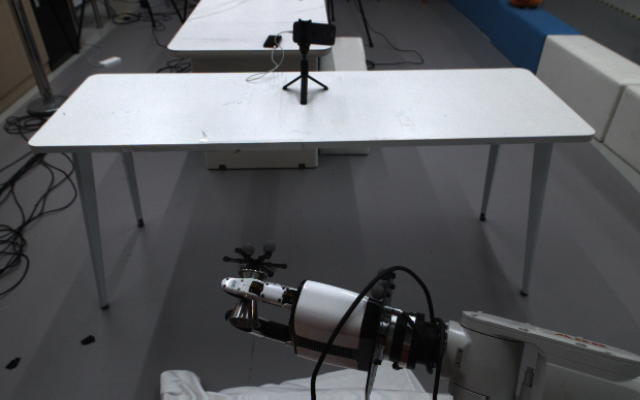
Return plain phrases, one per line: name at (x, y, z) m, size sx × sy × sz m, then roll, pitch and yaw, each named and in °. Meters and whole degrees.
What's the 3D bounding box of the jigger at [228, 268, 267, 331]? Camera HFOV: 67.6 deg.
jigger at (-0.096, 0.130, 0.645) m, size 0.043 × 0.043 × 0.071 m, roll 5°, pitch 61°, yaw 4°
